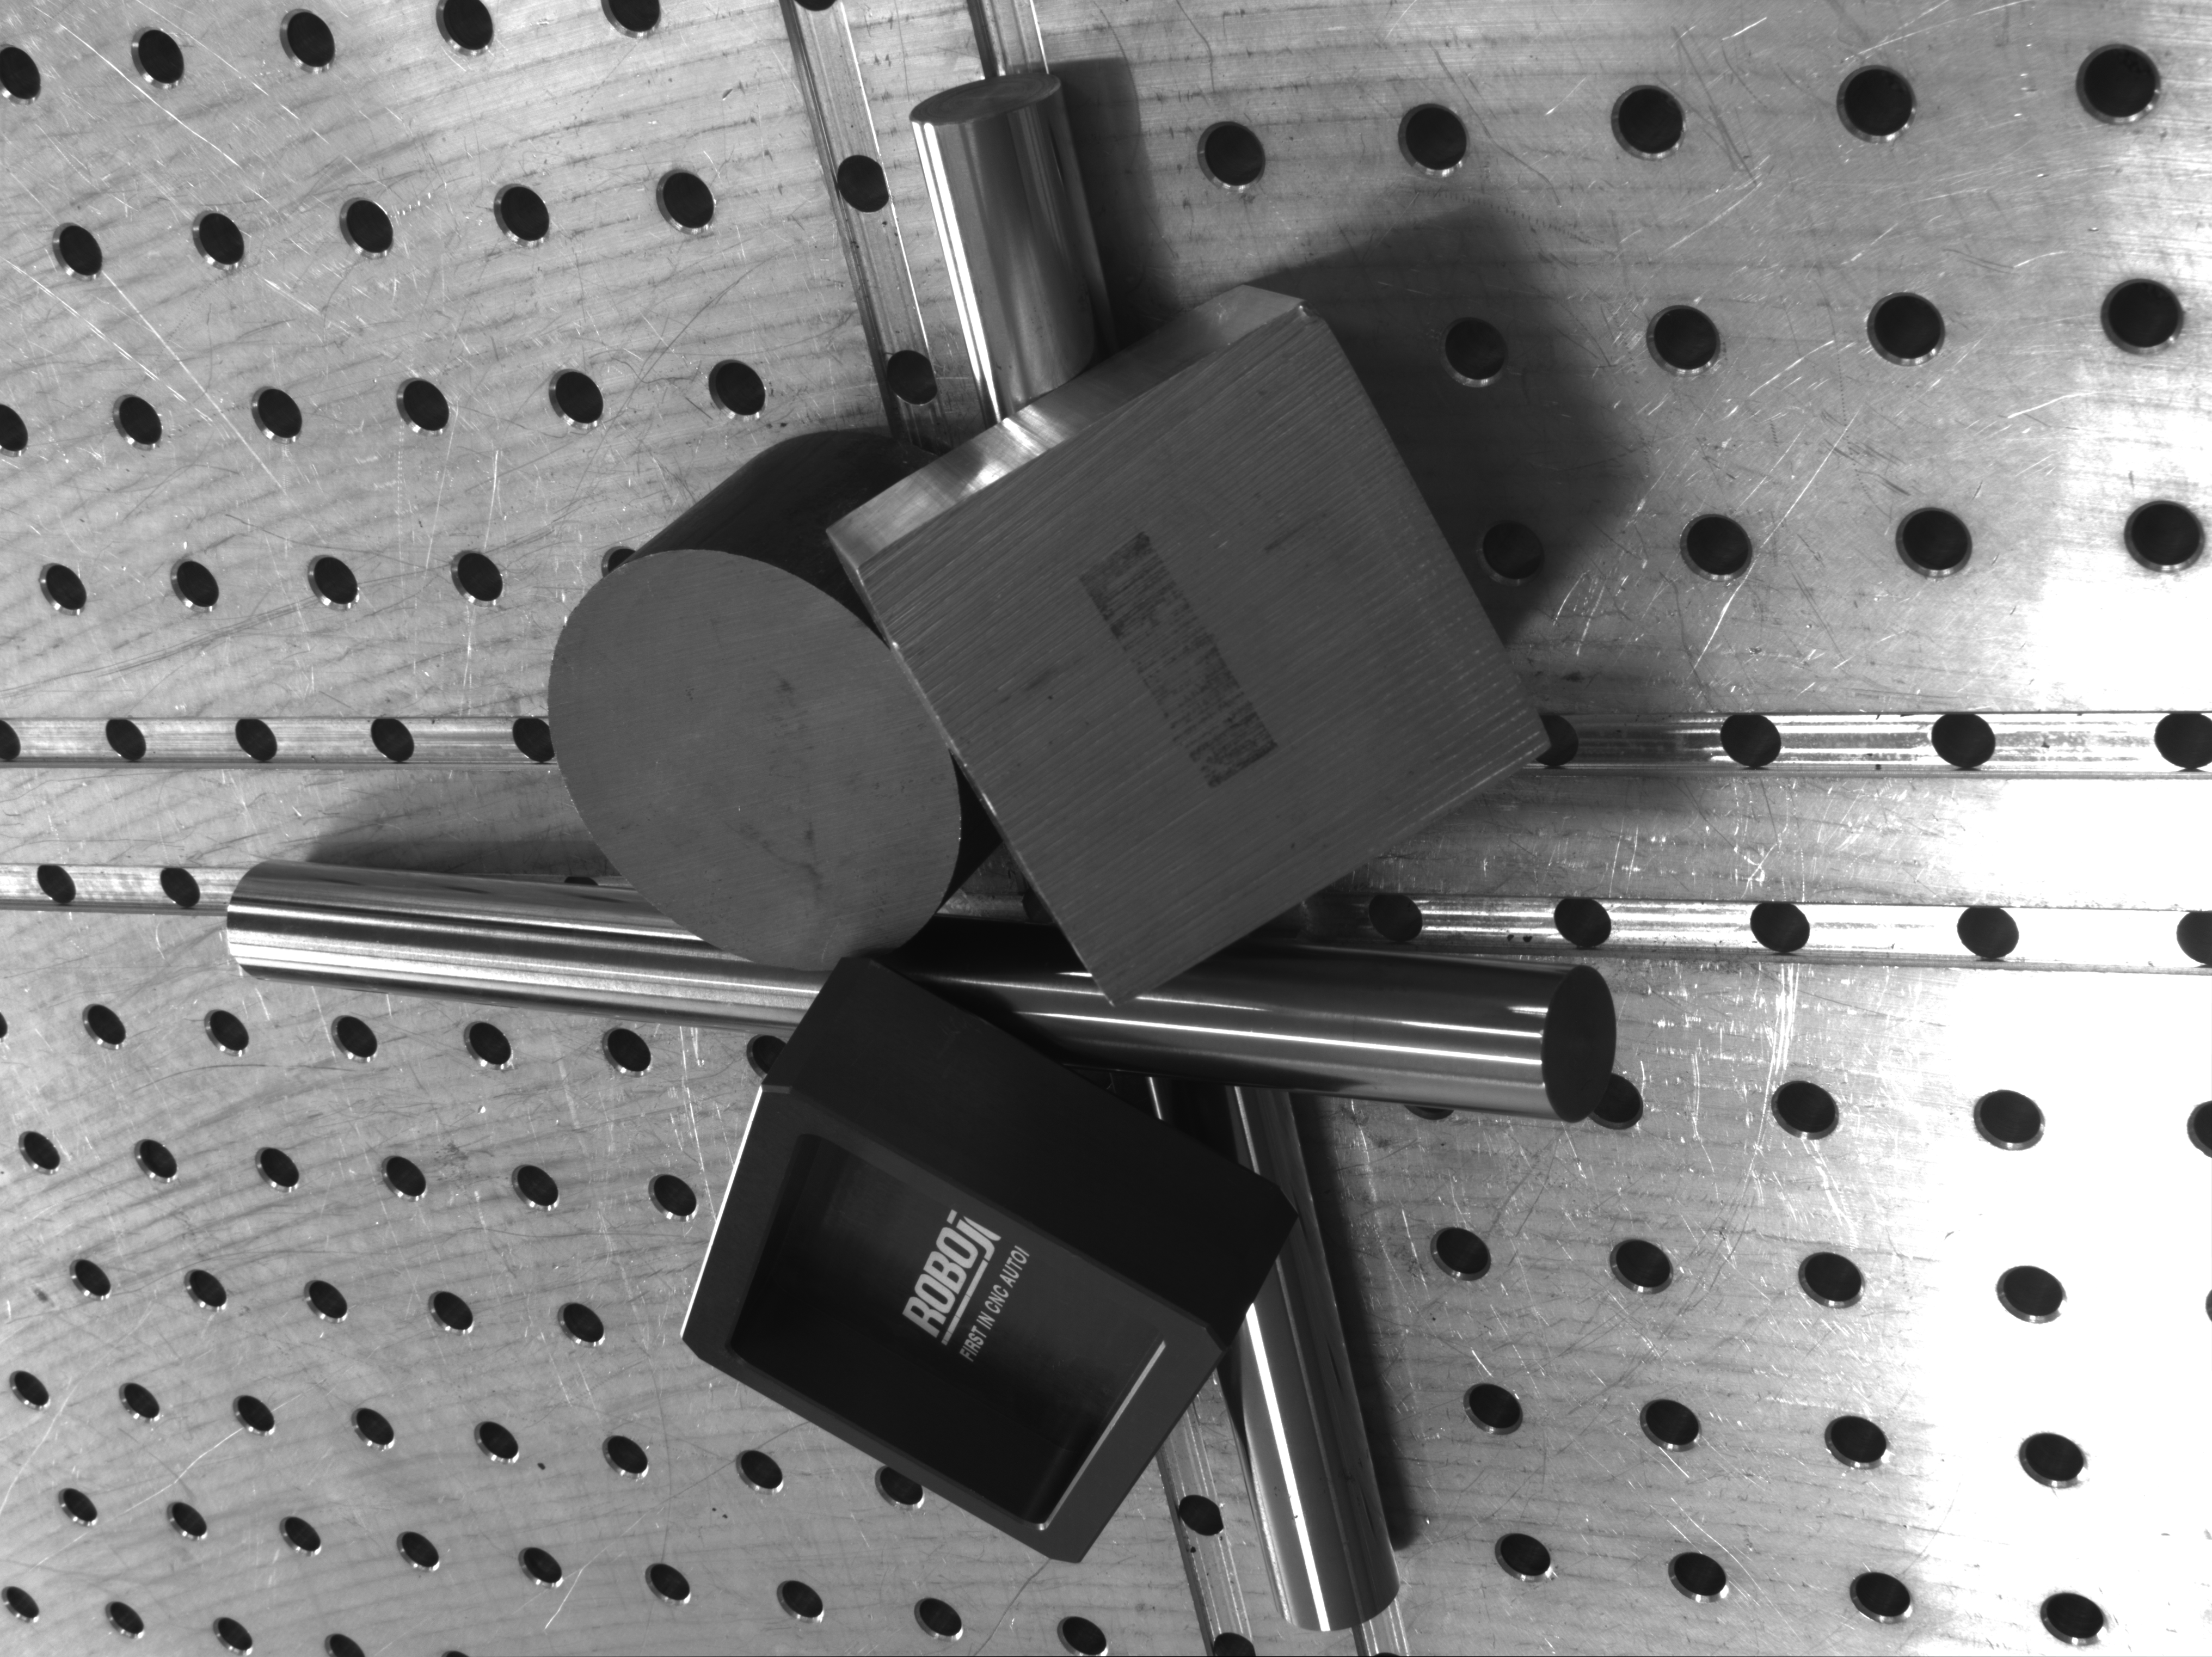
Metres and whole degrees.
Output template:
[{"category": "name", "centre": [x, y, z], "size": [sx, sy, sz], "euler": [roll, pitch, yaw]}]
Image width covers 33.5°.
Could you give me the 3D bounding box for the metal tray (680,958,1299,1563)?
[{"category": "metal tray", "centre": [-0.025, 0.083, 0.674], "size": [0.090, 0.030, 0.130], "euler": [29, 149, 3]}]

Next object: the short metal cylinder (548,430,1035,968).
[{"category": "short metal cylinder", "centre": [-0.050, -0.023, 0.642], "size": [0.080, 0.050, 0.080], "euler": [13, 124, 21]}]

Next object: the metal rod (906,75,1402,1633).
[{"category": "metal rod", "centre": [0.013, 0.016, 0.649], "size": [0.025, 0.025, 0.300], "euler": [1, 119, 28]}]

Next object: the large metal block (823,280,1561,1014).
[{"category": "large metal block", "centre": [0.012, -0.030, 0.579], "size": [0.080, 0.050, 0.080], "euler": [-31, 105, -3]}]

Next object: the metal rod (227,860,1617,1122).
[{"category": "metal rod", "centre": [-0.048, 0.026, 0.666], "size": [0.299, 0.025, 0.025], "euler": [4, 120, 35]}]
